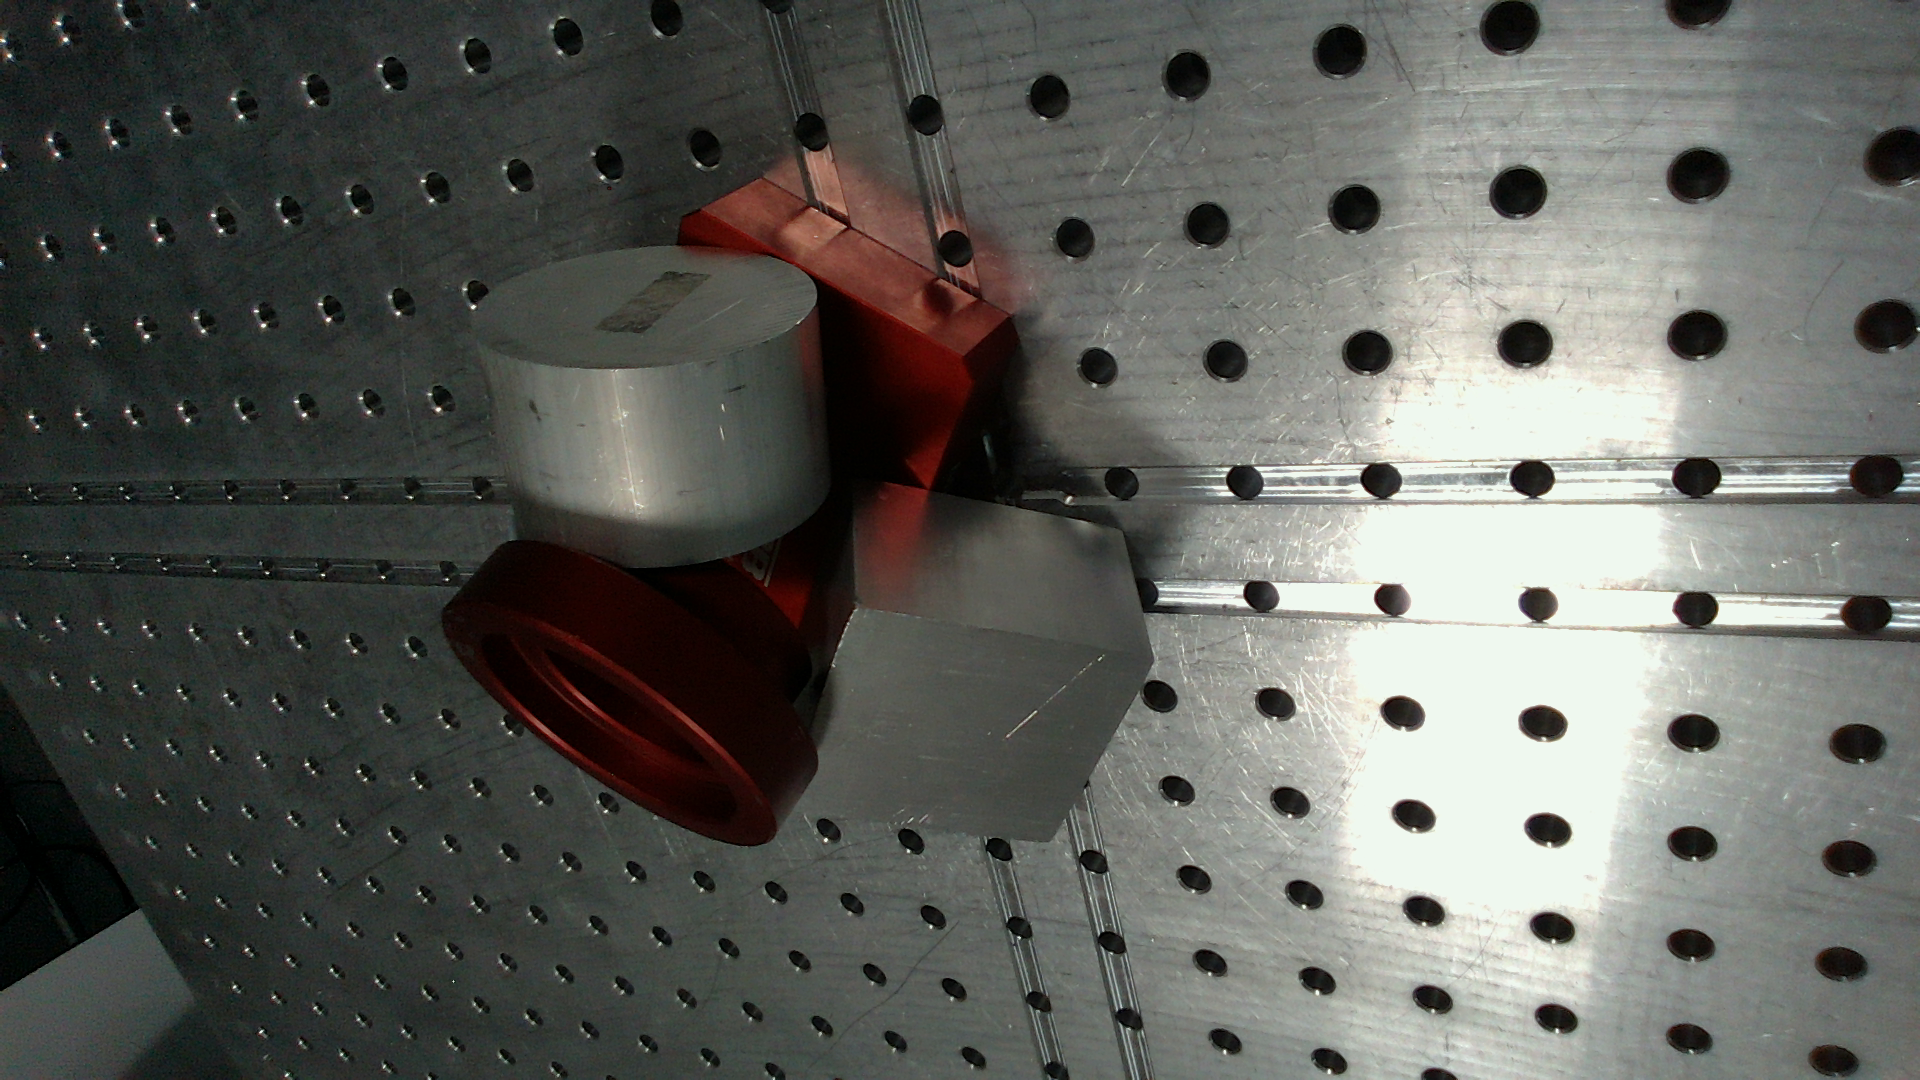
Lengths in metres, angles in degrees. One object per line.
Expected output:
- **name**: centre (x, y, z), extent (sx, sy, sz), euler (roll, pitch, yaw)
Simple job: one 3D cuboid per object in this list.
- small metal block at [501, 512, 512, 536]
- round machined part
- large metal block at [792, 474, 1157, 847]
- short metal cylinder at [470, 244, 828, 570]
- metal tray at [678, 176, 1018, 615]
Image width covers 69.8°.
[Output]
- **small metal block**: centre (-0.103, 0.005, 0.398), extent (0.025, 0.050, 0.050), euler (18, 126, 18)
- **round machined part**: centre (-0.078, 0.033, 0.350), extent (0.098, 0.042, 0.098), euler (24, 150, 15)
- **large metal block**: centre (-0.002, 0.036, 0.380), extent (0.080, 0.050, 0.080), euler (11, 129, -15)
- **short metal cylinder**: centre (-0.074, -0.035, 0.339), extent (0.080, 0.080, 0.050), euler (13, 124, 21)
- **metal tray**: centre (-0.047, -0.027, 0.402), extent (0.090, 0.030, 0.130), euler (30, 128, 9)
